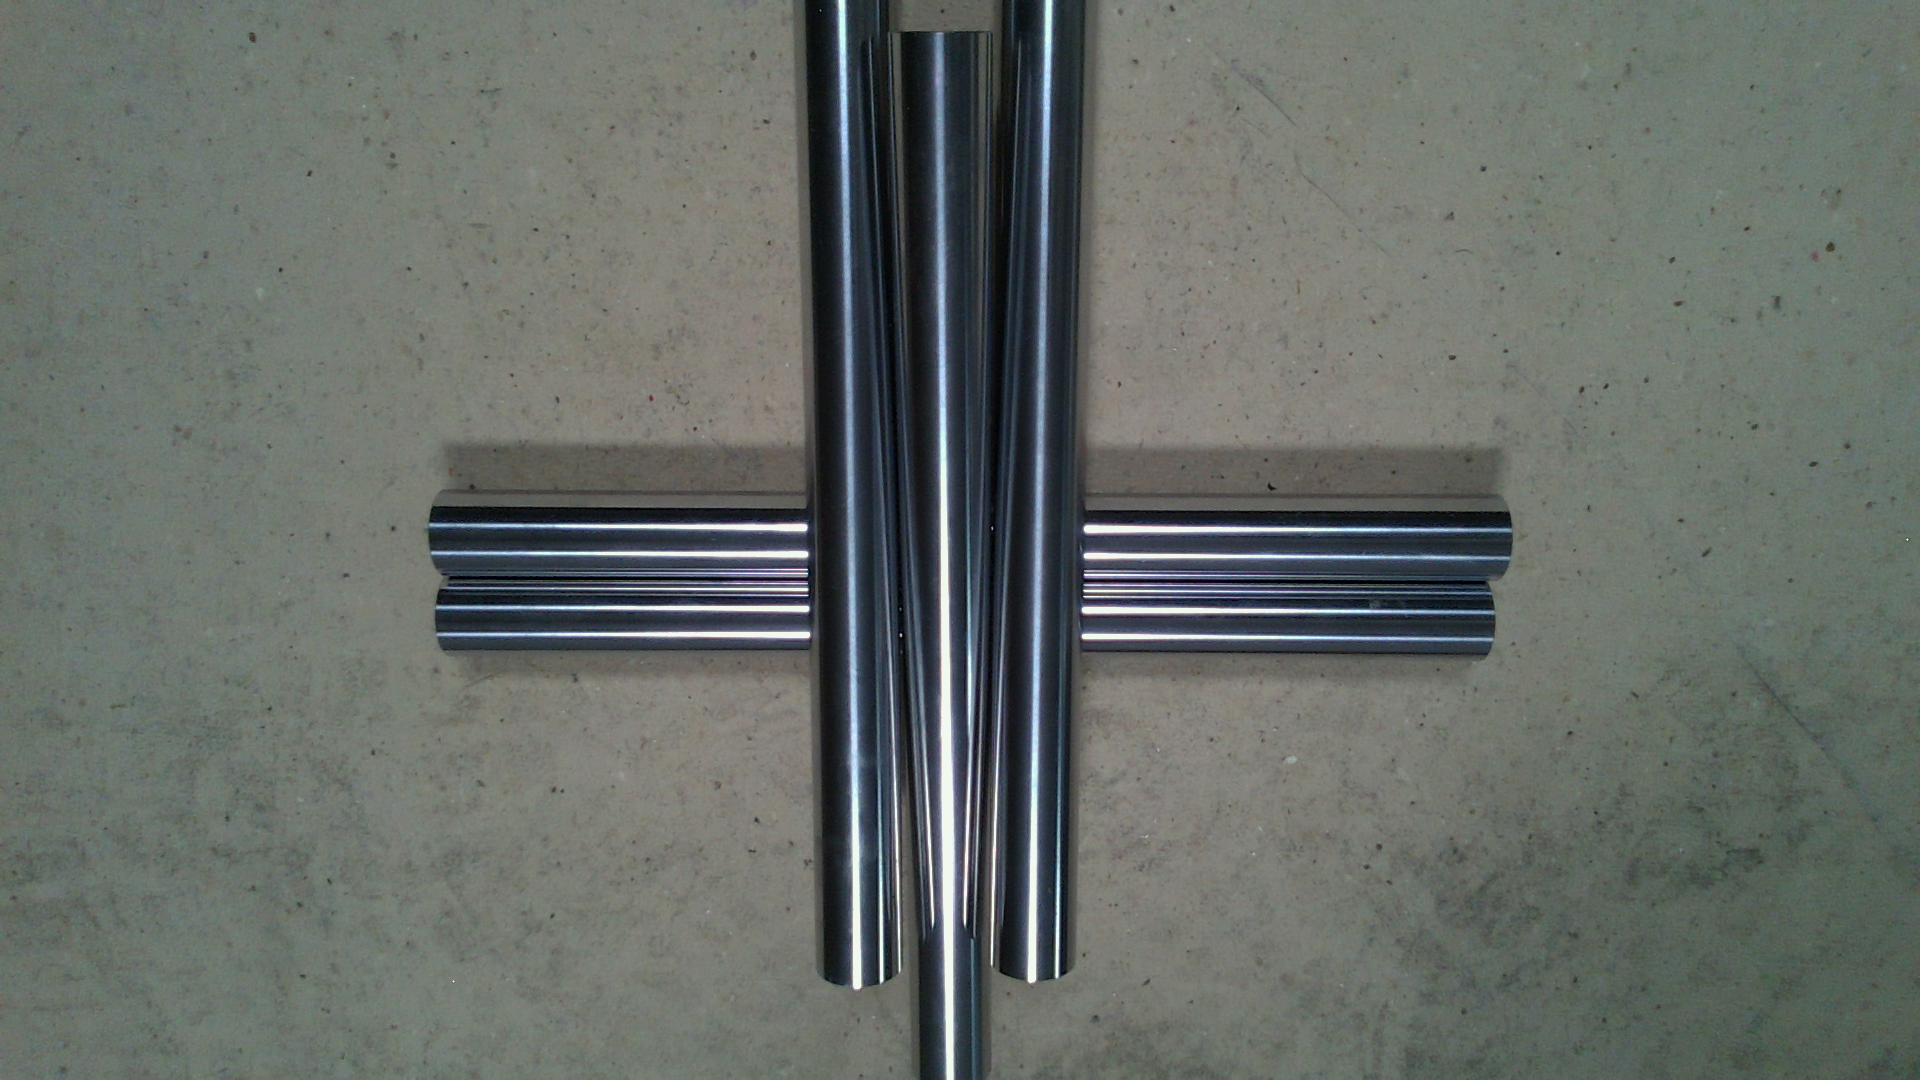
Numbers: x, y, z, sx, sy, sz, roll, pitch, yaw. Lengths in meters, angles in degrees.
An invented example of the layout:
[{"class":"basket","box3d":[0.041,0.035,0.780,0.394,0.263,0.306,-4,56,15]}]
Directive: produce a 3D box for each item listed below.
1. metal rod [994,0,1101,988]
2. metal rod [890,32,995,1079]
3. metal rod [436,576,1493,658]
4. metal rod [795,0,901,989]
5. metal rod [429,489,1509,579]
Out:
[{"class":"metal rod","box3d":[0.022,-0.025,0.362,0.025,0.025,0.300,0,102,0]},{"class":"metal rod","box3d":[-0.003,0.021,0.375,0.025,0.025,0.300,0,110,0]},{"class":"metal rod","box3d":[0.002,0.022,0.403,0.300,0.025,0.025,0,110,0]},{"class":"metal rod","box3d":[-0.029,-0.025,0.363,0.025,0.025,0.300,0,102,0]},{"class":"metal rod","box3d":[0.003,-0.002,0.394,0.300,0.025,0.025,0,110,0]}]
